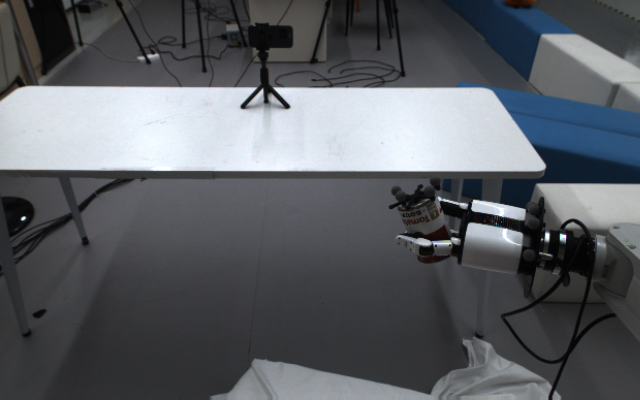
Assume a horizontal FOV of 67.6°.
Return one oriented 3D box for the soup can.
[{"bbox_3d":[0.176,0.042,0.791,0.067,0.101,0.067,-23,16,7],"label":"soup can"}]
